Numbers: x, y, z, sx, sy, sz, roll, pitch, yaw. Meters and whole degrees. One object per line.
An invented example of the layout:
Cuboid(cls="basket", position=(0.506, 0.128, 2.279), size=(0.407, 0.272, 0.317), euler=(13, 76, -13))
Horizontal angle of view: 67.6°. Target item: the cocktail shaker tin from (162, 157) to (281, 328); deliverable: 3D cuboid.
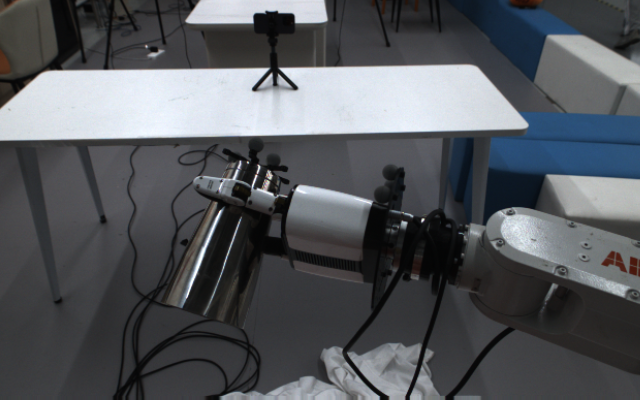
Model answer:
Cuboid(cls="cocktail shaker tin", position=(-0.100, 0.044, 0.539), size=(0.093, 0.093, 0.170), euler=(13, 71, 15))
